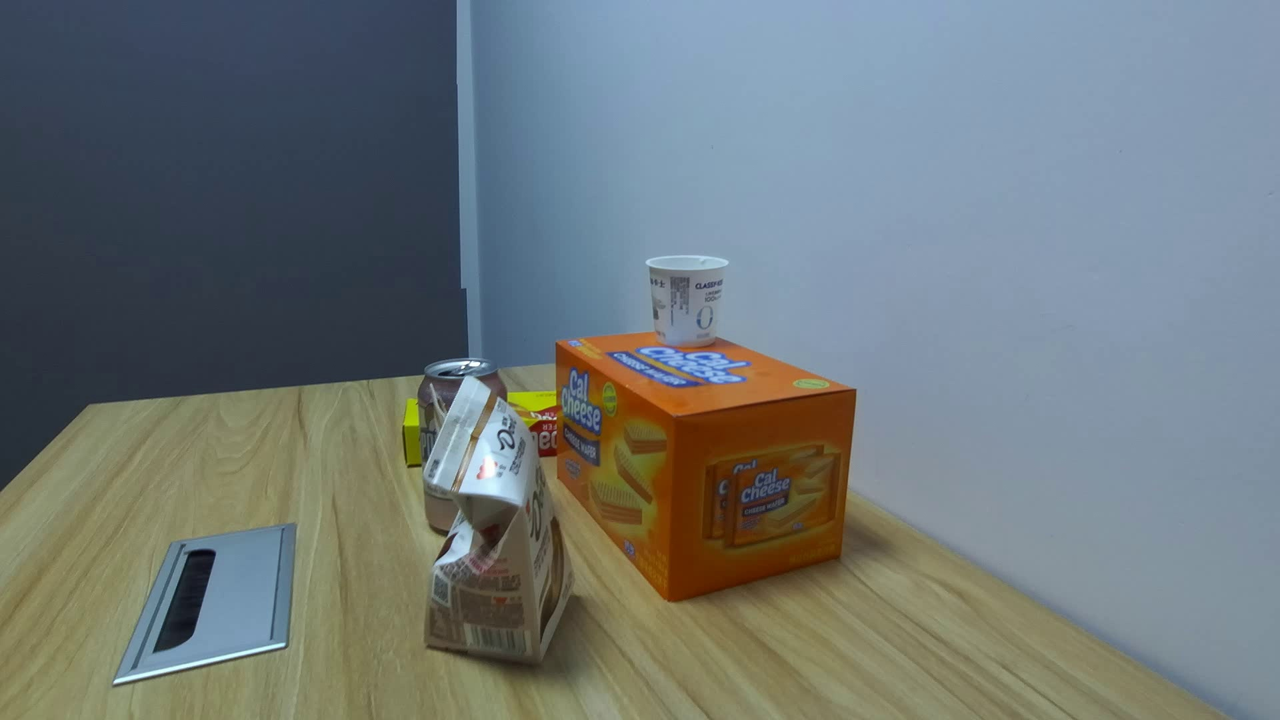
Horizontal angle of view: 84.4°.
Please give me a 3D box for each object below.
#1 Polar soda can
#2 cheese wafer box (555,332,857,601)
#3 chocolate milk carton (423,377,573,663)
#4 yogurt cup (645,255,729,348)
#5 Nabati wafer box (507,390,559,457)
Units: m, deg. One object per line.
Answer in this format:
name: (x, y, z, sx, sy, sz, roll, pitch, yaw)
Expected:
Polar soda can: (-0.148, 0.037, 0.580, 0.067, 0.067, 0.125, -11, -178, -25)
cheese wafer box: (0.038, 0.063, 0.559, 0.149, 0.129, 0.221, -6, -163, -25)
chocolate milk carton: (-0.088, 0.093, 0.405, 0.076, 0.156, 0.089, -1, -152, 8)
yogurt cup: (0.040, -0.051, 0.605, 0.072, 0.068, 0.072, 0, -162, 0)
Nabati wafer box: (-0.113, 0.050, 0.791, 0.096, 0.042, 0.202, -9, -163, -12)
